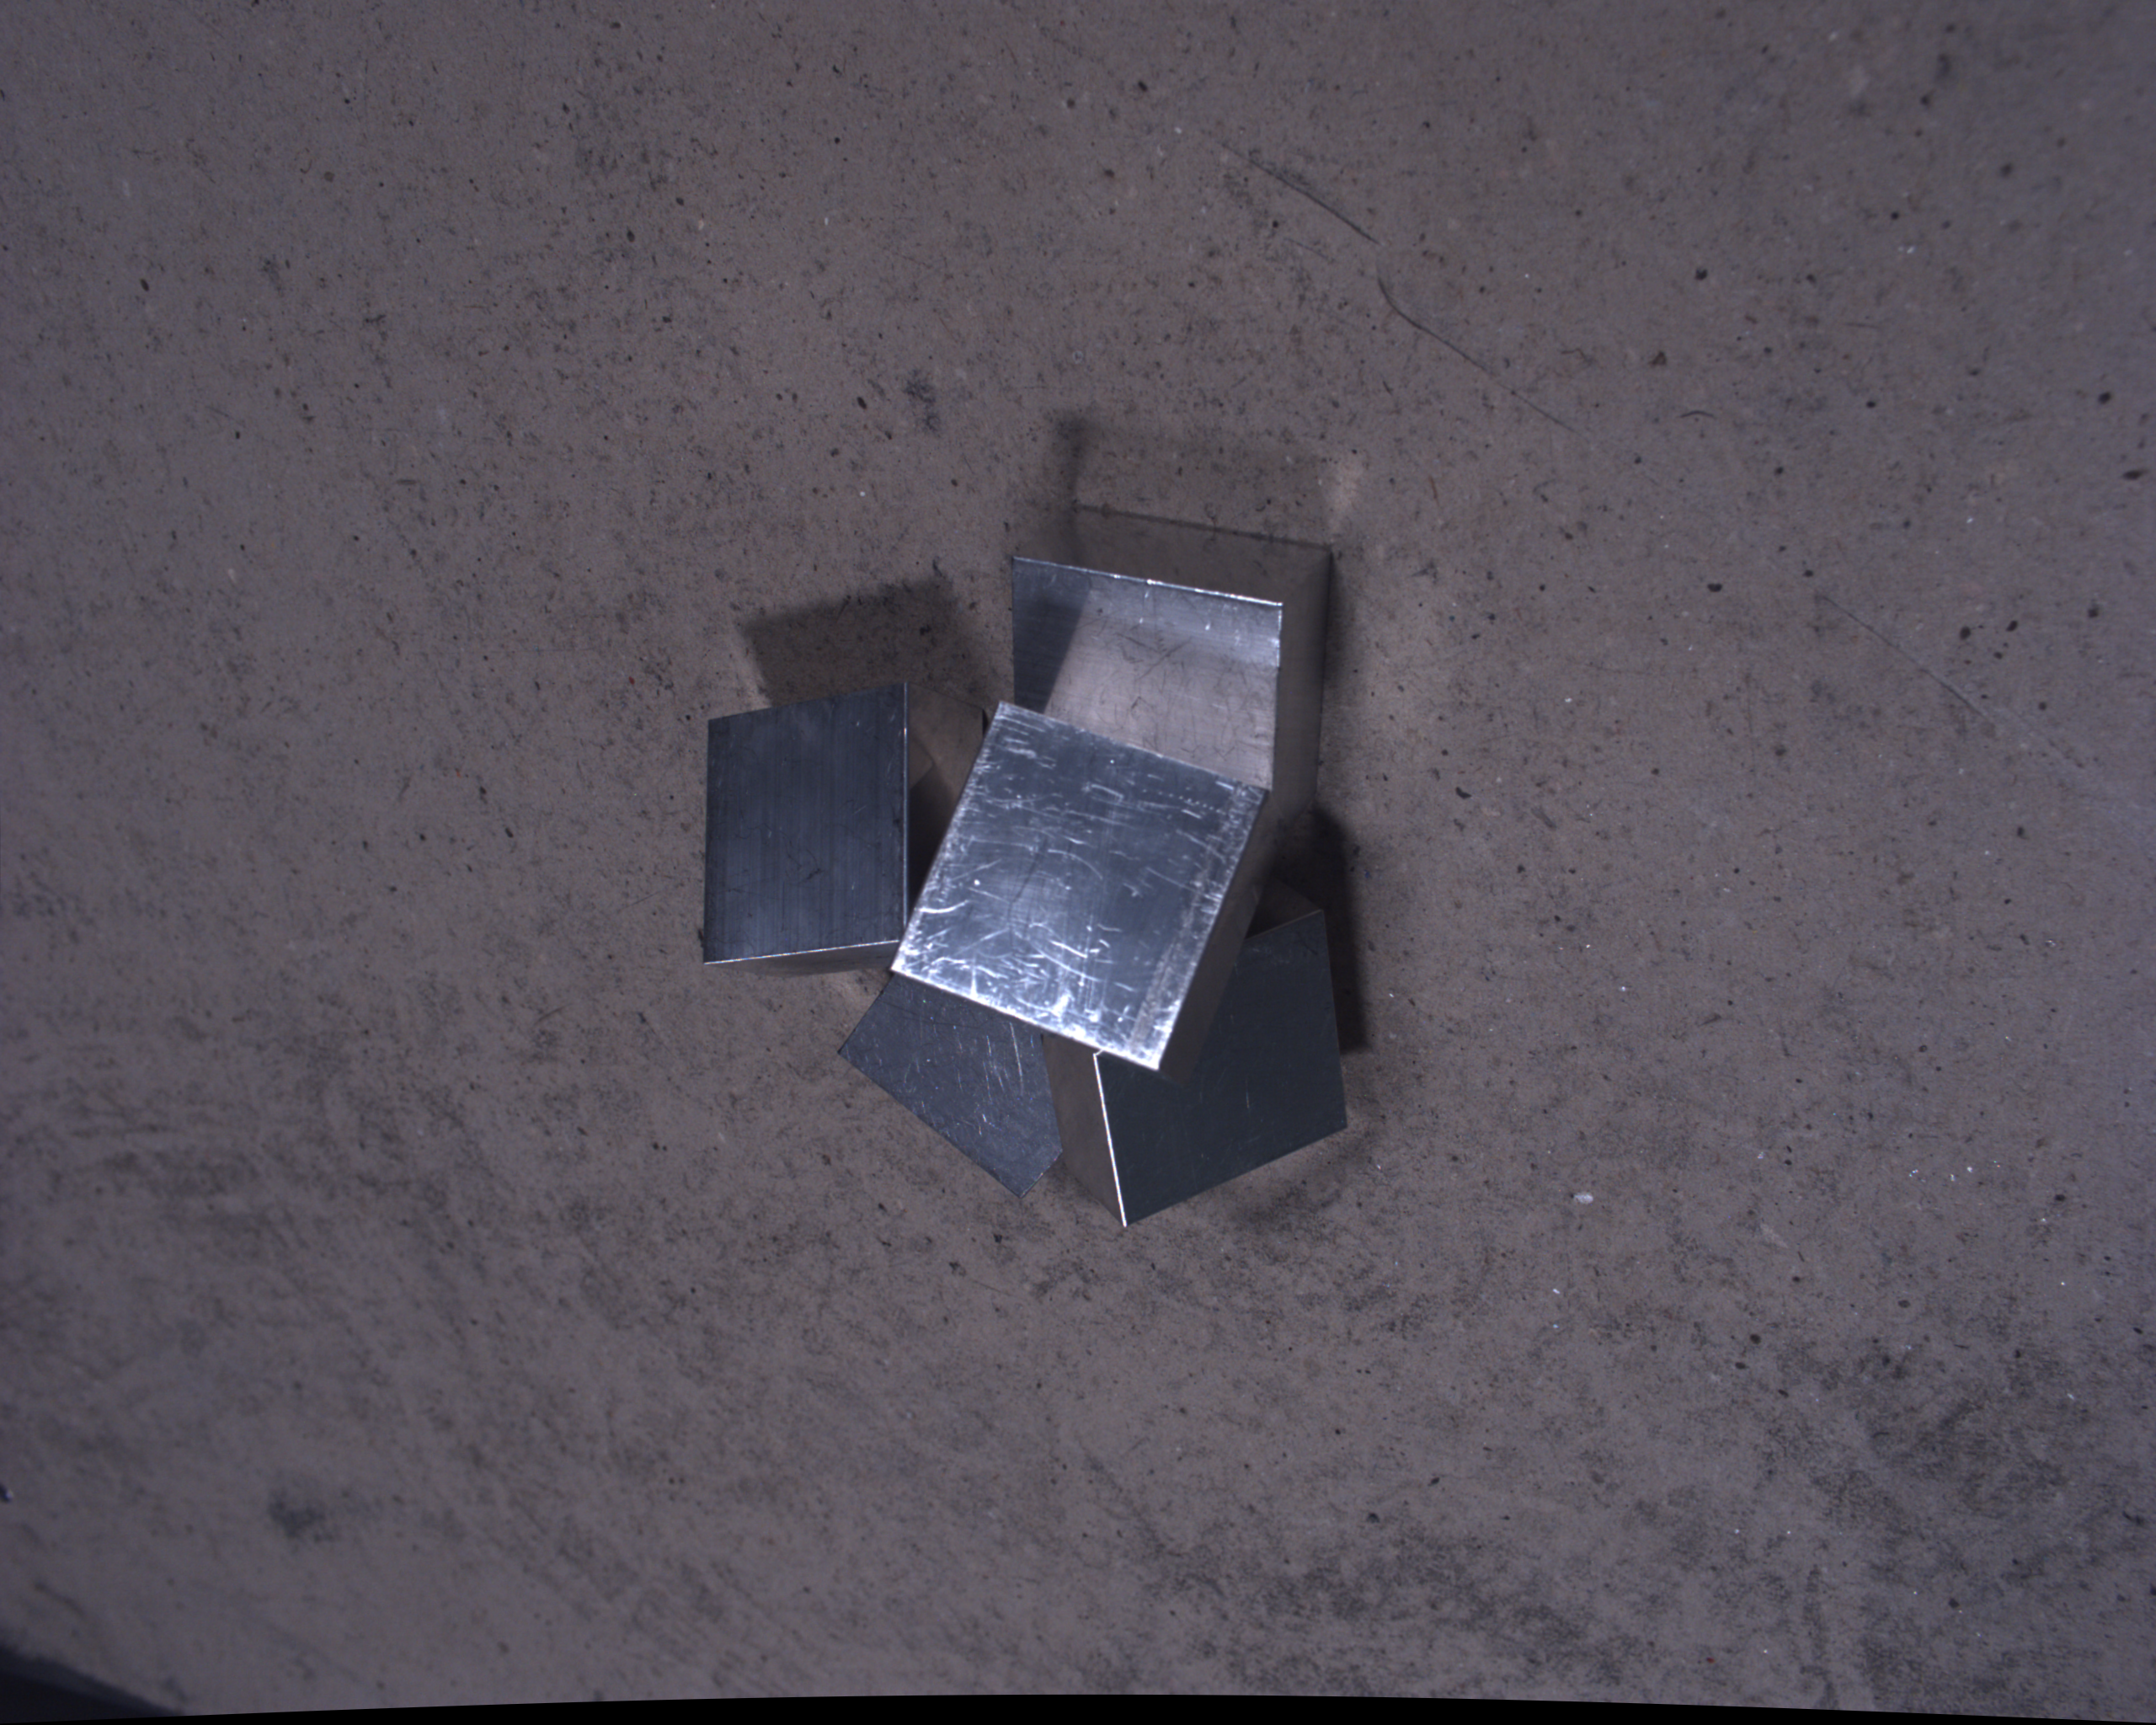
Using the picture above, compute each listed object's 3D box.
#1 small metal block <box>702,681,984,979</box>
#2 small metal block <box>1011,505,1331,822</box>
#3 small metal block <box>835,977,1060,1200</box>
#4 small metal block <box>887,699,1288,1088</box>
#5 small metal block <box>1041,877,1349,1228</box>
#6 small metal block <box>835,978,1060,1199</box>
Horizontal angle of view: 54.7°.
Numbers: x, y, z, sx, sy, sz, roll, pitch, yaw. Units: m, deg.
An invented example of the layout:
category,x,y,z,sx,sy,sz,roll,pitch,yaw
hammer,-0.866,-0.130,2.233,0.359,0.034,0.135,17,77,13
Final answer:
category,x,y,z,sx,sy,sz,roll,pitch,yaw
small metal block,-0.046,-0.005,0.412,0.050,0.025,0.050,-8,77,31
small metal block,0.016,-0.033,0.378,0.050,0.025,0.050,13,124,20
small metal block,-0.015,0.035,0.436,0.050,0.025,0.050,39,129,2
small metal block,0.003,0.006,0.359,0.050,0.025,0.050,20,82,16
small metal block,0.022,0.034,0.398,0.025,0.050,0.050,38,143,55
small metal block,-0.015,0.035,0.436,0.050,0.025,0.050,39,129,1
